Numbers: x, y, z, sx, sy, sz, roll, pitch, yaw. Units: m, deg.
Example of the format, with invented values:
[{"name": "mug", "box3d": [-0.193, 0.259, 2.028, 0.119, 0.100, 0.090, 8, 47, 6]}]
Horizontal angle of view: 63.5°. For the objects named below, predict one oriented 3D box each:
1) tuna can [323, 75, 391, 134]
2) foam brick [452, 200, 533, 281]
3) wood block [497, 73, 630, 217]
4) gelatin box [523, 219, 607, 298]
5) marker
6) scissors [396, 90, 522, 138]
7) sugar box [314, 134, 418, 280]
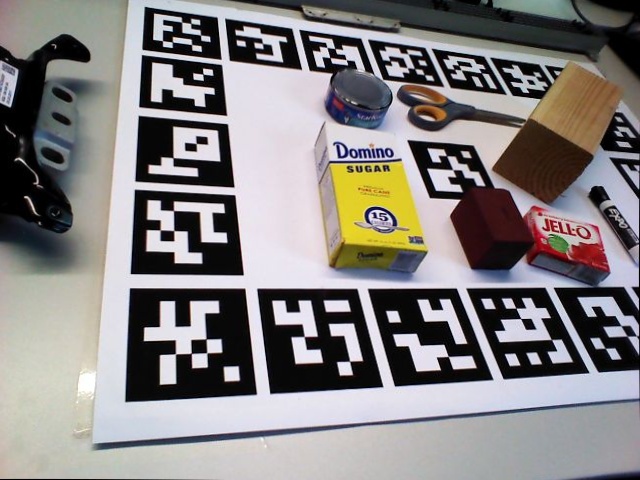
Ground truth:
[{"name": "tuna can", "box3d": [0.048, -0.176, 0.680, 0.086, 0.034, 0.085, 8, 53, -11]}, {"name": "foam brick", "box3d": [0.191, 0.001, 0.580, 0.053, 0.052, 0.077, 3, 54, -15]}, {"name": "wood block", "box3d": [0.339, -0.135, 0.712, 0.090, 0.091, 0.205, 36, 52, 12]}, {"name": "gelatin box", "box3d": [0.288, 0.020, 0.615, 0.089, 0.030, 0.073, 17, 52, -4]}, {"name": "marker", "box3d": [0.387, -0.007, 0.670, 0.019, 0.020, 0.120, 3, 56, -15]}, {"name": "scissors", "box3d": [0.210, -0.170, 0.742, 0.203, 0.016, 0.087, 7, 53, -10]}, {"name": "sugar box", "box3d": [0.046, -0.041, 0.577, 0.093, 0.045, 0.175, 6, 53, -14]}]
